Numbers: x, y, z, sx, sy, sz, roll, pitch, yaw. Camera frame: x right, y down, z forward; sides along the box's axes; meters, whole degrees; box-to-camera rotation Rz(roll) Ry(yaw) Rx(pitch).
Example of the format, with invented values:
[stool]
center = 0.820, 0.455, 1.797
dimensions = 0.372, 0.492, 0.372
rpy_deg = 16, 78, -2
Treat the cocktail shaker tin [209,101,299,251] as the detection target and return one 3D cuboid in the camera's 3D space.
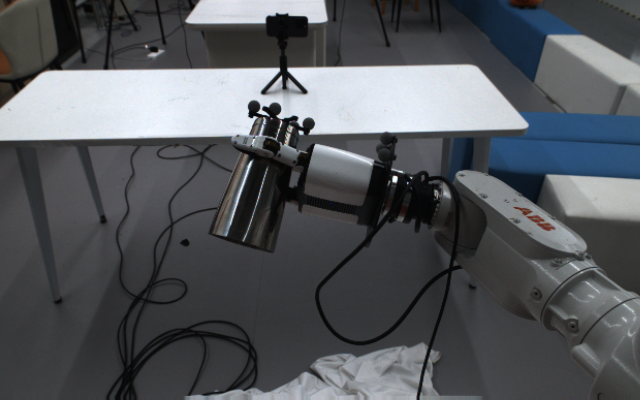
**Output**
[cocktail shaker tin]
center = -0.080, -0.024, 0.663
dimensions = 0.093, 0.093, 0.170
rpy_deg = 13, 79, 15
